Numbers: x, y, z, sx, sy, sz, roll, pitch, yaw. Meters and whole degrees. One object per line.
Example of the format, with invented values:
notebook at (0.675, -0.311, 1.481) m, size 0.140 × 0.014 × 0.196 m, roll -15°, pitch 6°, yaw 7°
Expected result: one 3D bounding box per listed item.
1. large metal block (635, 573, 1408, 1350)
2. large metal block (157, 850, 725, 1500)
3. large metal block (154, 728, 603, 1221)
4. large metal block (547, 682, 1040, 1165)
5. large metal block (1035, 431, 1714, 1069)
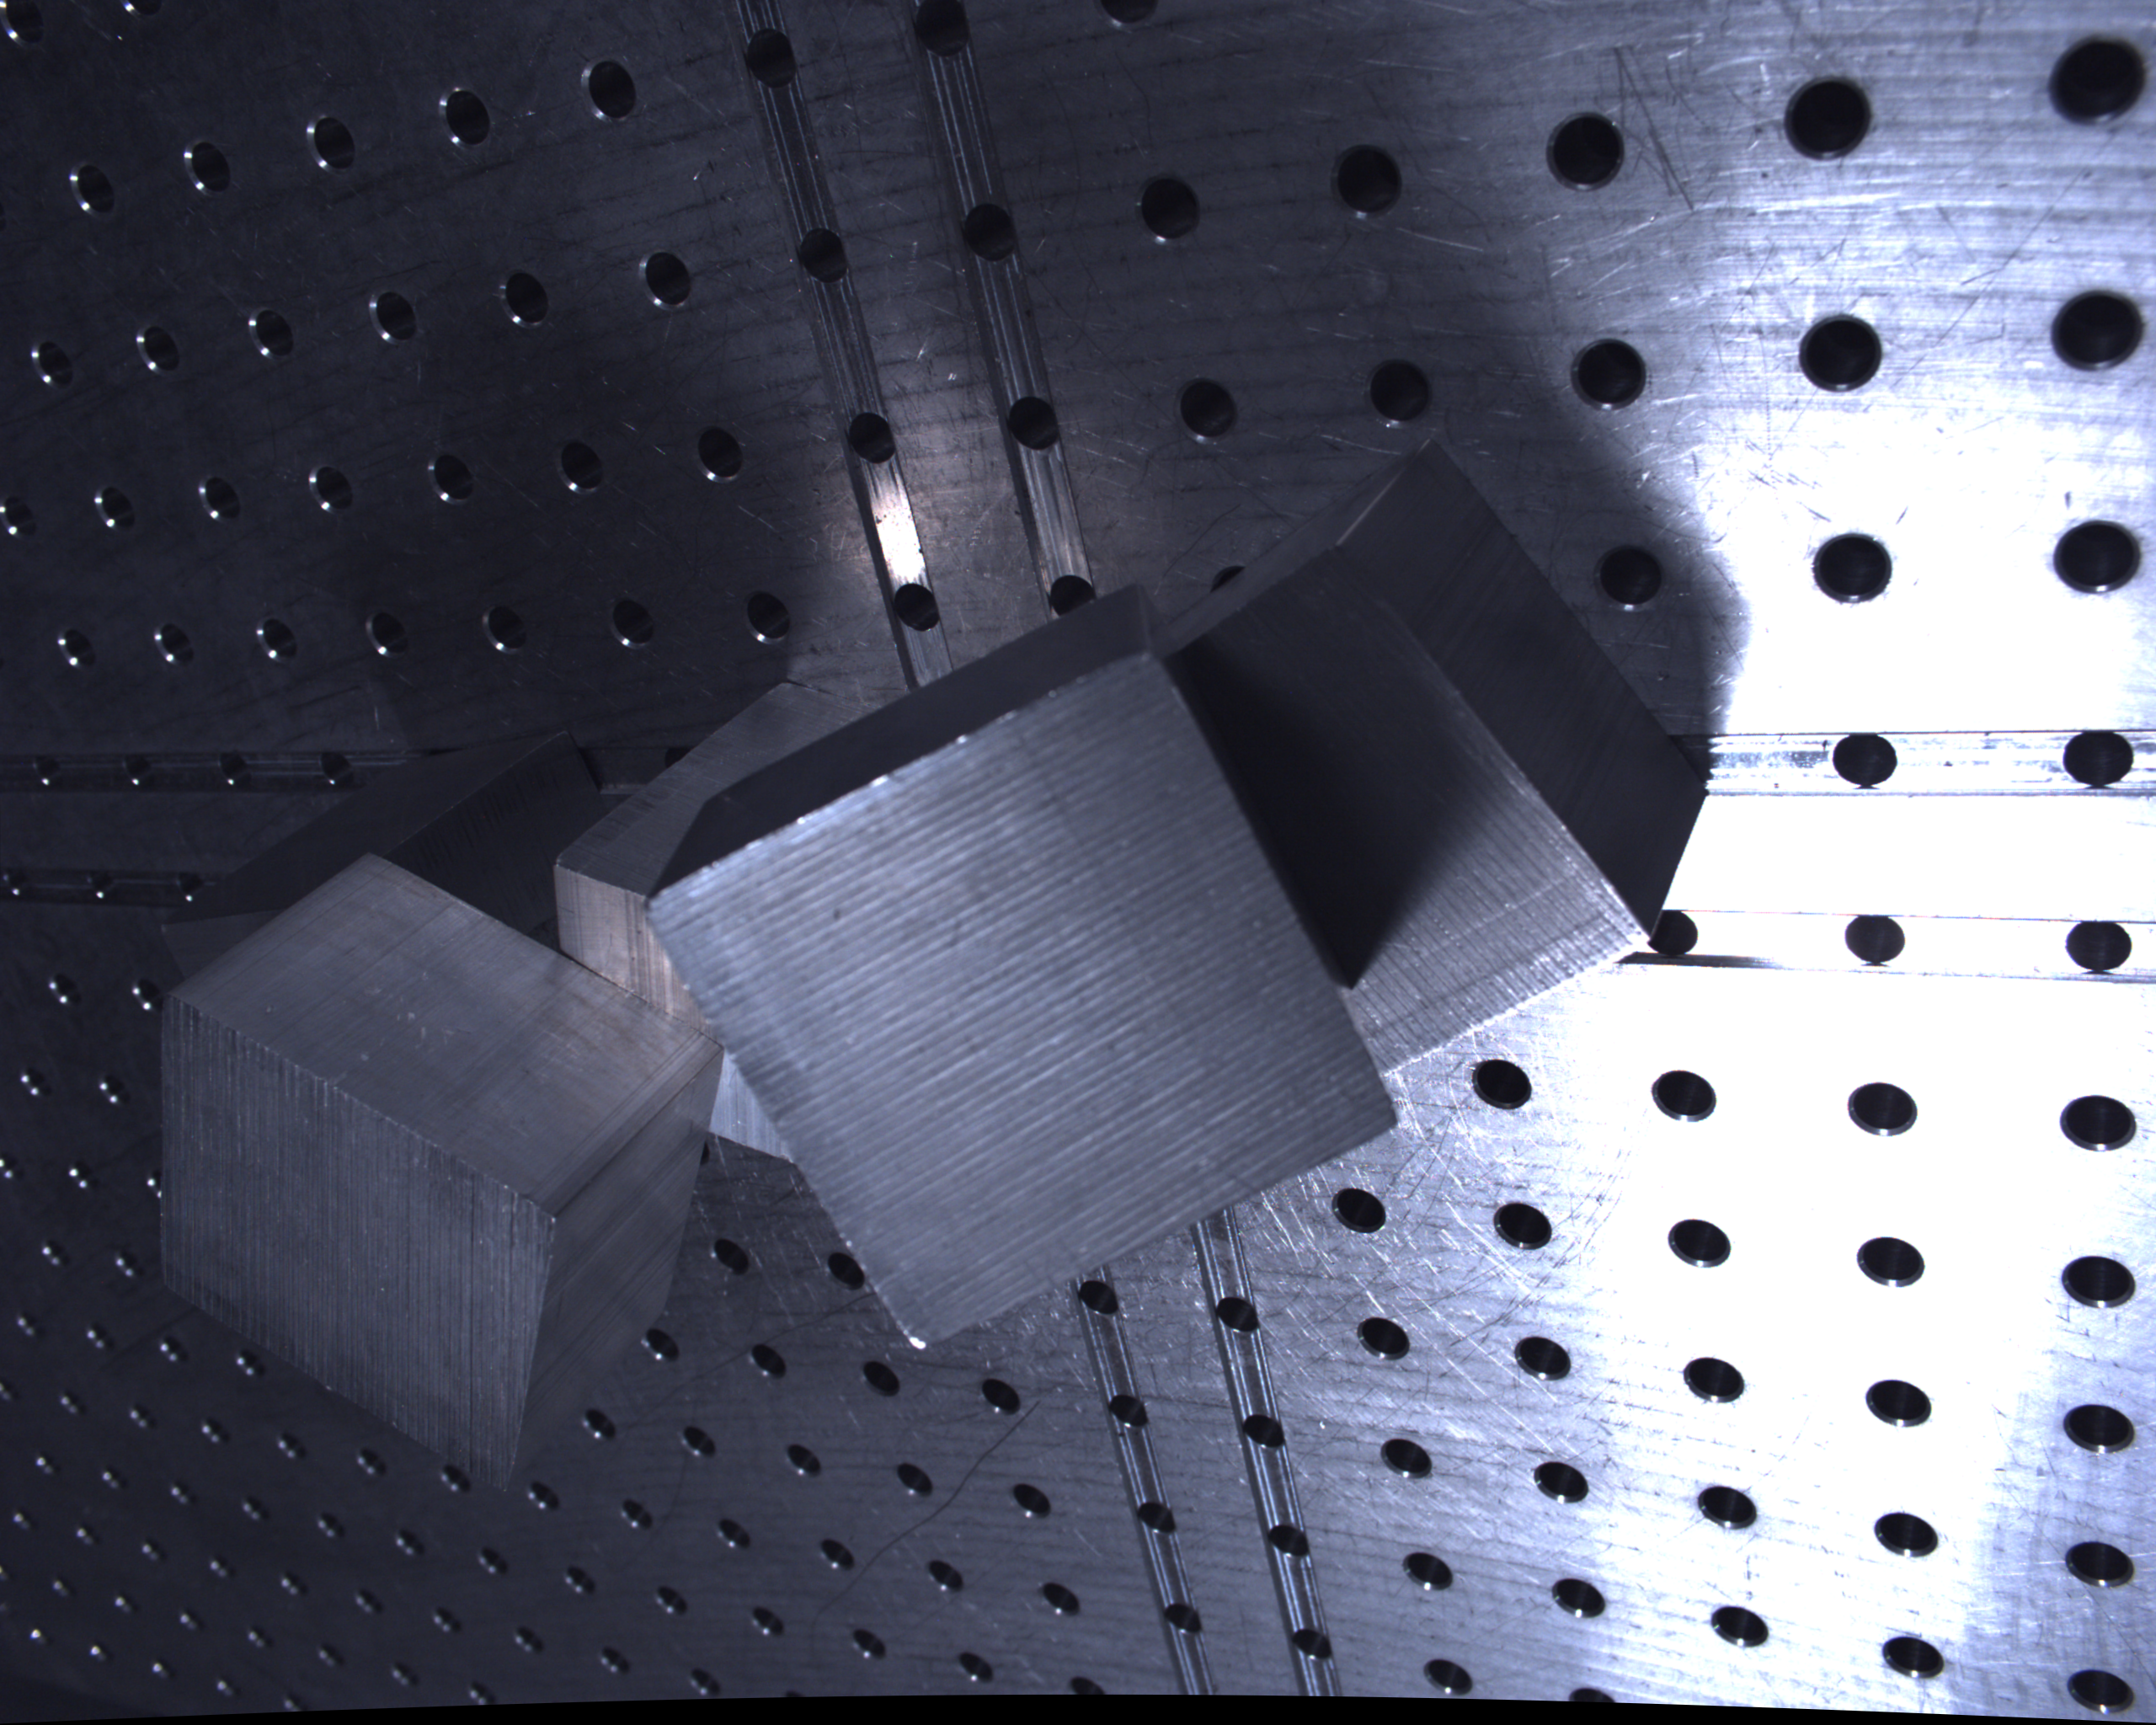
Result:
large metal block at (-0.007, 0.014, 0.317) m, size 0.080 × 0.050 × 0.080 m, roll -27°, pitch 106°, yaw 7°
large metal block at (-0.120, 0.058, 0.387) m, size 0.080 × 0.050 × 0.079 m, roll 28°, pitch 128°, yaw 11°
large metal block at (-0.139, 0.026, 0.462) m, size 0.050 × 0.080 × 0.080 m, roll -6°, pitch 115°, yaw 31°
large metal block at (-0.043, 0.013, 0.404) m, size 0.080 × 0.080 × 0.050 m, roll 17°, pitch 125°, yaw 18°
large metal block at (0.048, -0.013, 0.361) m, size 0.080 × 0.050 × 0.080 m, roll -34°, pitch 100°, yaw 38°
